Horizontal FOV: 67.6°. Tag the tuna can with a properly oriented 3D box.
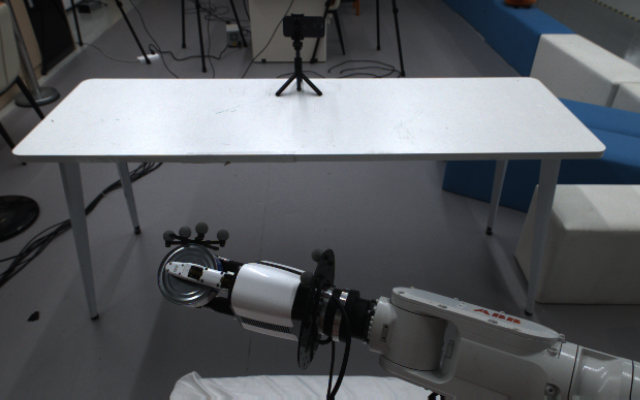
[{"bbox_3d":[-0.174,0.108,0.676,0.085,0.034,0.085,-2,69,6],"label":"tuna can"}]
